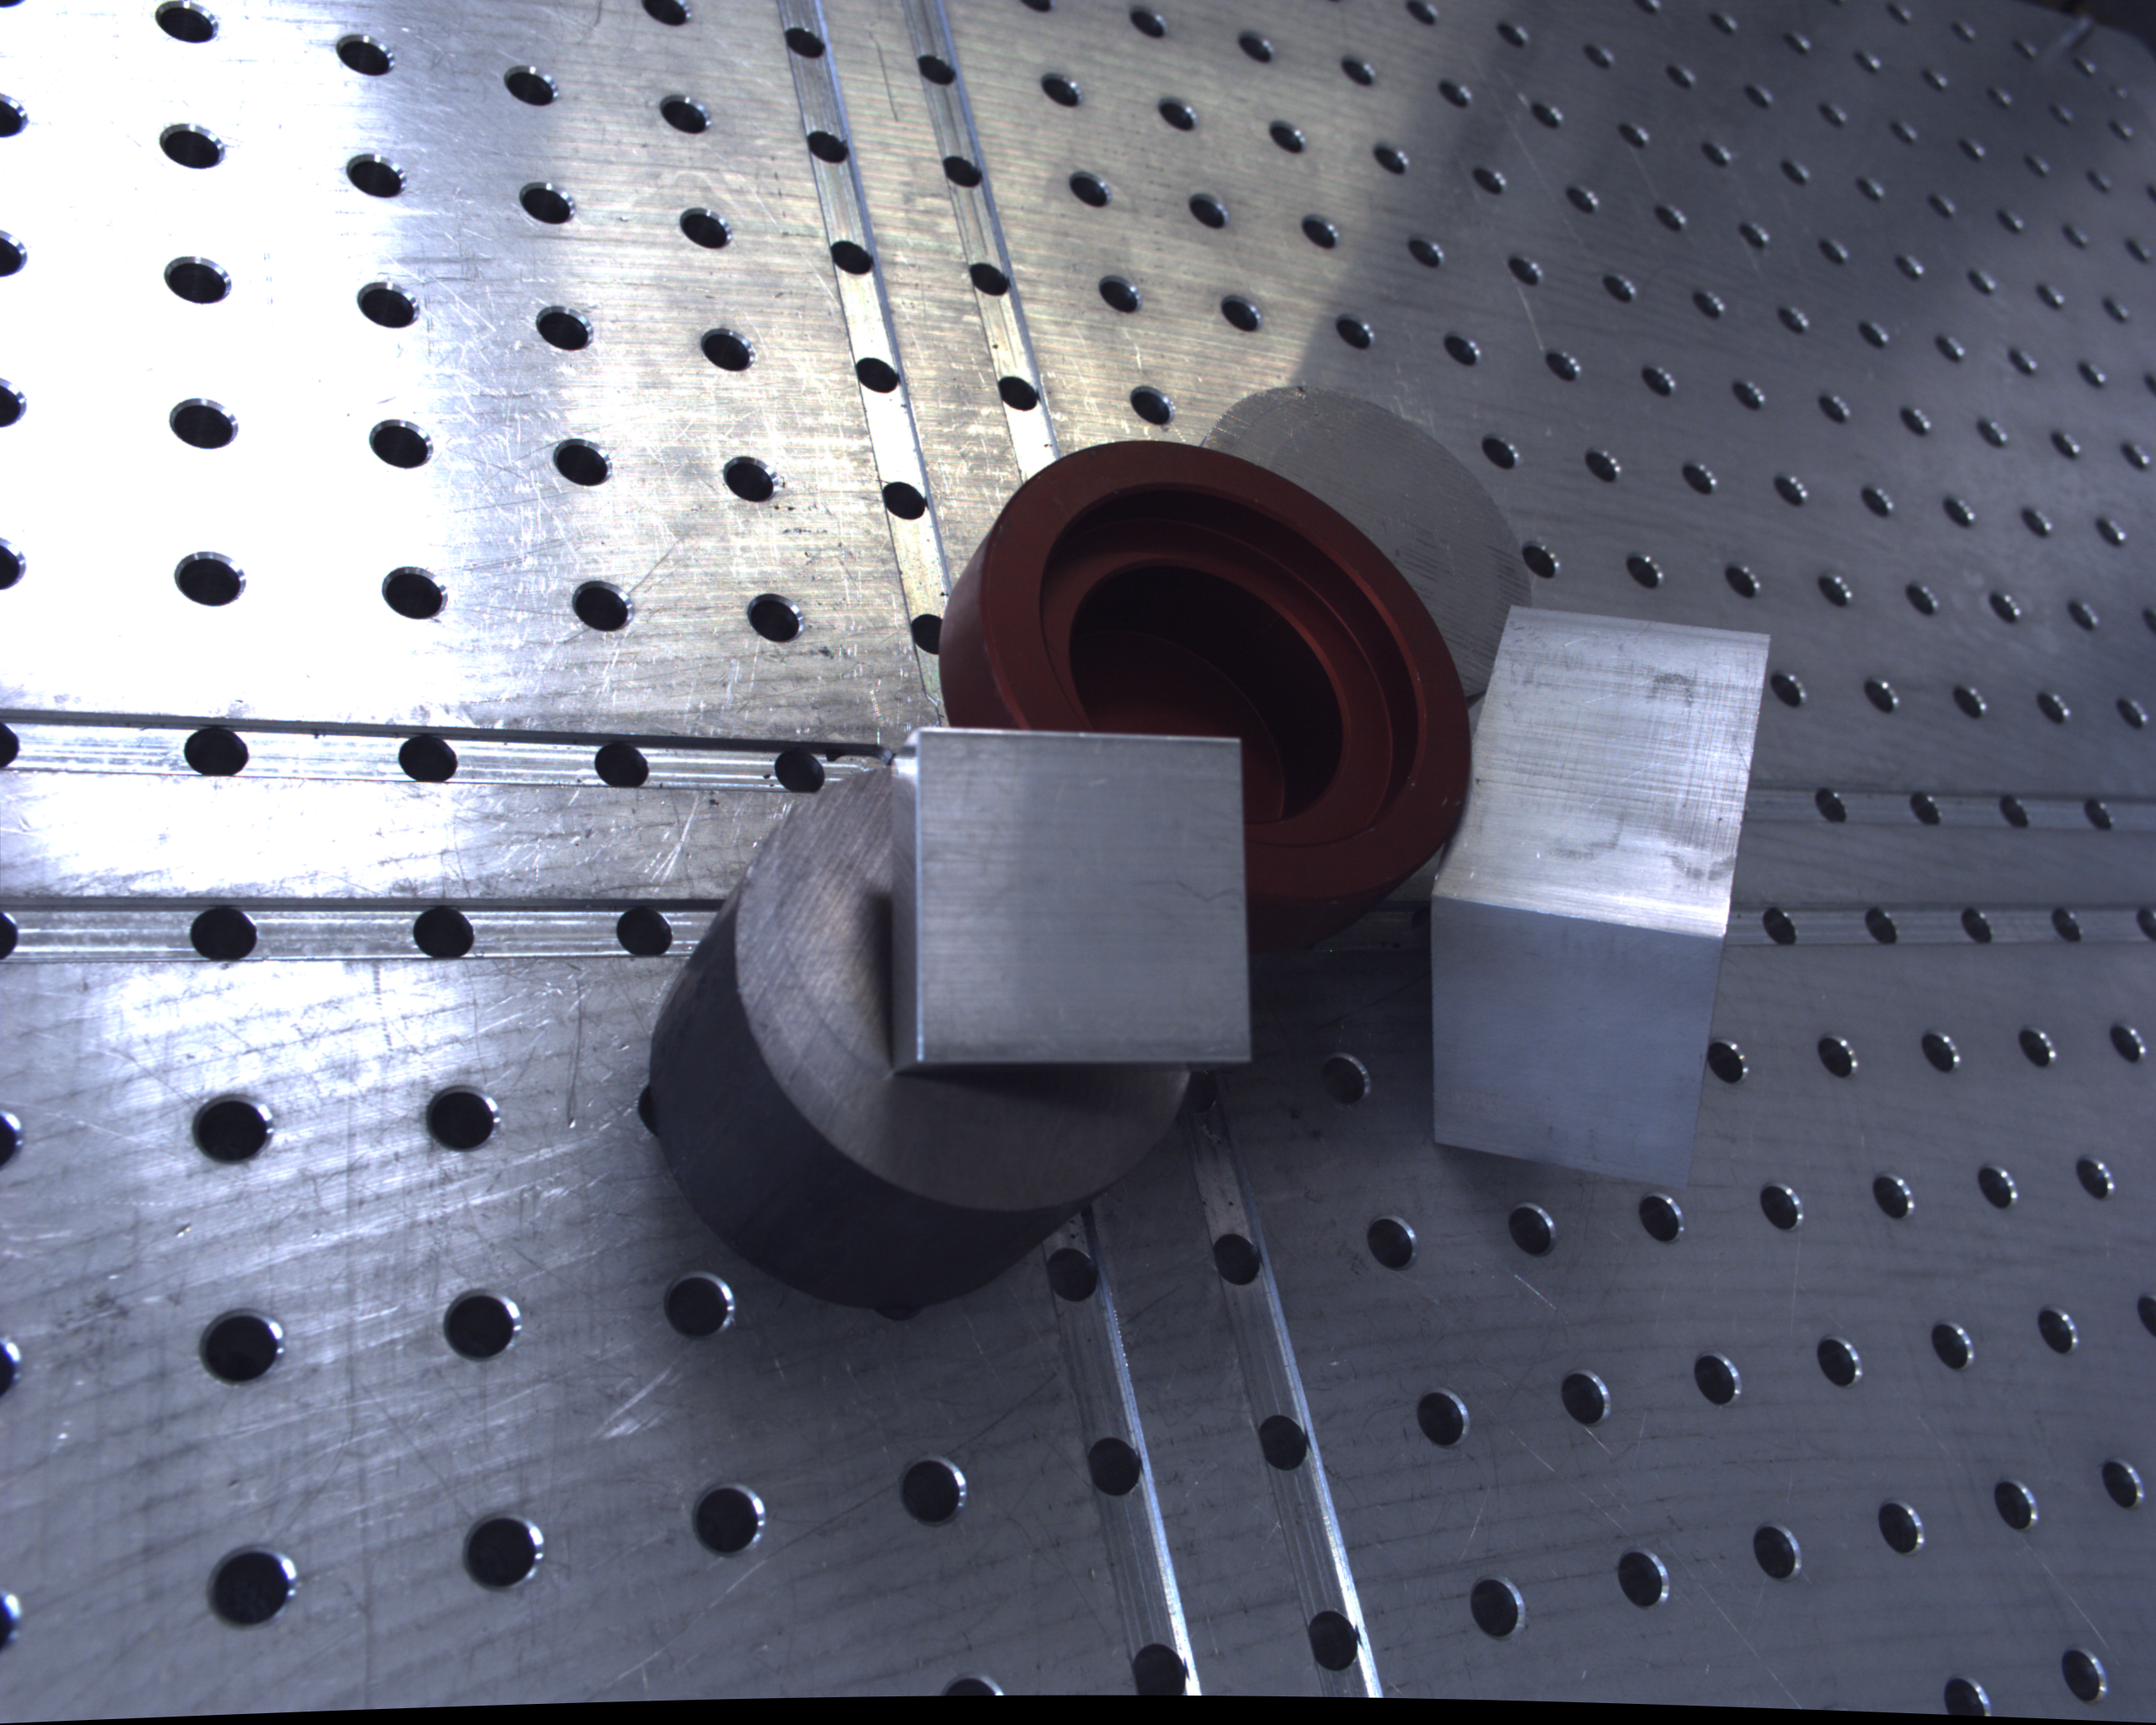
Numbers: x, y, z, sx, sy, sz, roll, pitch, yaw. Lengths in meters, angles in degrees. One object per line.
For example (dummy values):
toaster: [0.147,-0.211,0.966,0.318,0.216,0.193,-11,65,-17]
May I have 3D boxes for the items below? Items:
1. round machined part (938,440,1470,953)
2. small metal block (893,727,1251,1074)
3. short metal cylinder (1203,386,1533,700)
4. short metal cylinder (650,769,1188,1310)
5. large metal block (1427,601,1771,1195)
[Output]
round machined part: [0.020,-0.027,0.386,0.099,0.042,0.098,14,56,-21]
small metal block: [-0.002,0.007,0.322,0.050,0.025,0.050,1,80,-14]
short metal cylinder: [0.050,-0.056,0.453,0.081,0.050,0.080,14,56,-21]
short metal cylinder: [-0.027,0.030,0.358,0.081,0.050,0.080,14,56,-21]
large metal block: [0.103,0.007,0.416,0.050,0.080,0.080,9,50,18]
